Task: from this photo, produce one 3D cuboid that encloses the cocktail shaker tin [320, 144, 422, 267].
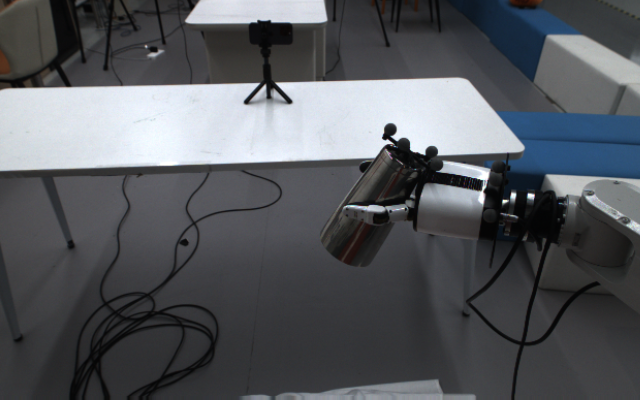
[{"bbox_3d":[0.080,0.001,0.711,0.093,0.170,0.093,25,29,-15],"label":"cocktail shaker tin"}]
